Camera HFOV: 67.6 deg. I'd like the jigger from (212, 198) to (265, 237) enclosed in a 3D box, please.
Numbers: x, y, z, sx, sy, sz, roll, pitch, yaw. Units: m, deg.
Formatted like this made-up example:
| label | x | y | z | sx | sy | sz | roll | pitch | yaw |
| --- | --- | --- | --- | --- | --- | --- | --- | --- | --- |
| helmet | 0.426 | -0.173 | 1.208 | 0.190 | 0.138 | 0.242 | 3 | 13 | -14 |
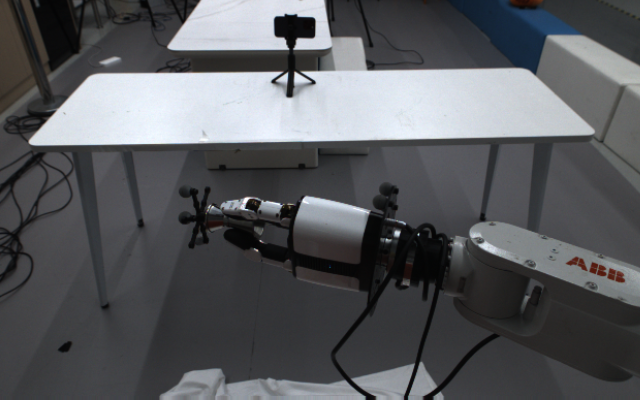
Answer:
| label | x | y | z | sx | sy | sz | roll | pitch | yaw |
| --- | --- | --- | --- | --- | --- | --- | --- | --- | --- |
| jigger | -0.103 | 0.023 | 0.636 | 0.071 | 0.043 | 0.043 | 4 | 34 | 13 |
